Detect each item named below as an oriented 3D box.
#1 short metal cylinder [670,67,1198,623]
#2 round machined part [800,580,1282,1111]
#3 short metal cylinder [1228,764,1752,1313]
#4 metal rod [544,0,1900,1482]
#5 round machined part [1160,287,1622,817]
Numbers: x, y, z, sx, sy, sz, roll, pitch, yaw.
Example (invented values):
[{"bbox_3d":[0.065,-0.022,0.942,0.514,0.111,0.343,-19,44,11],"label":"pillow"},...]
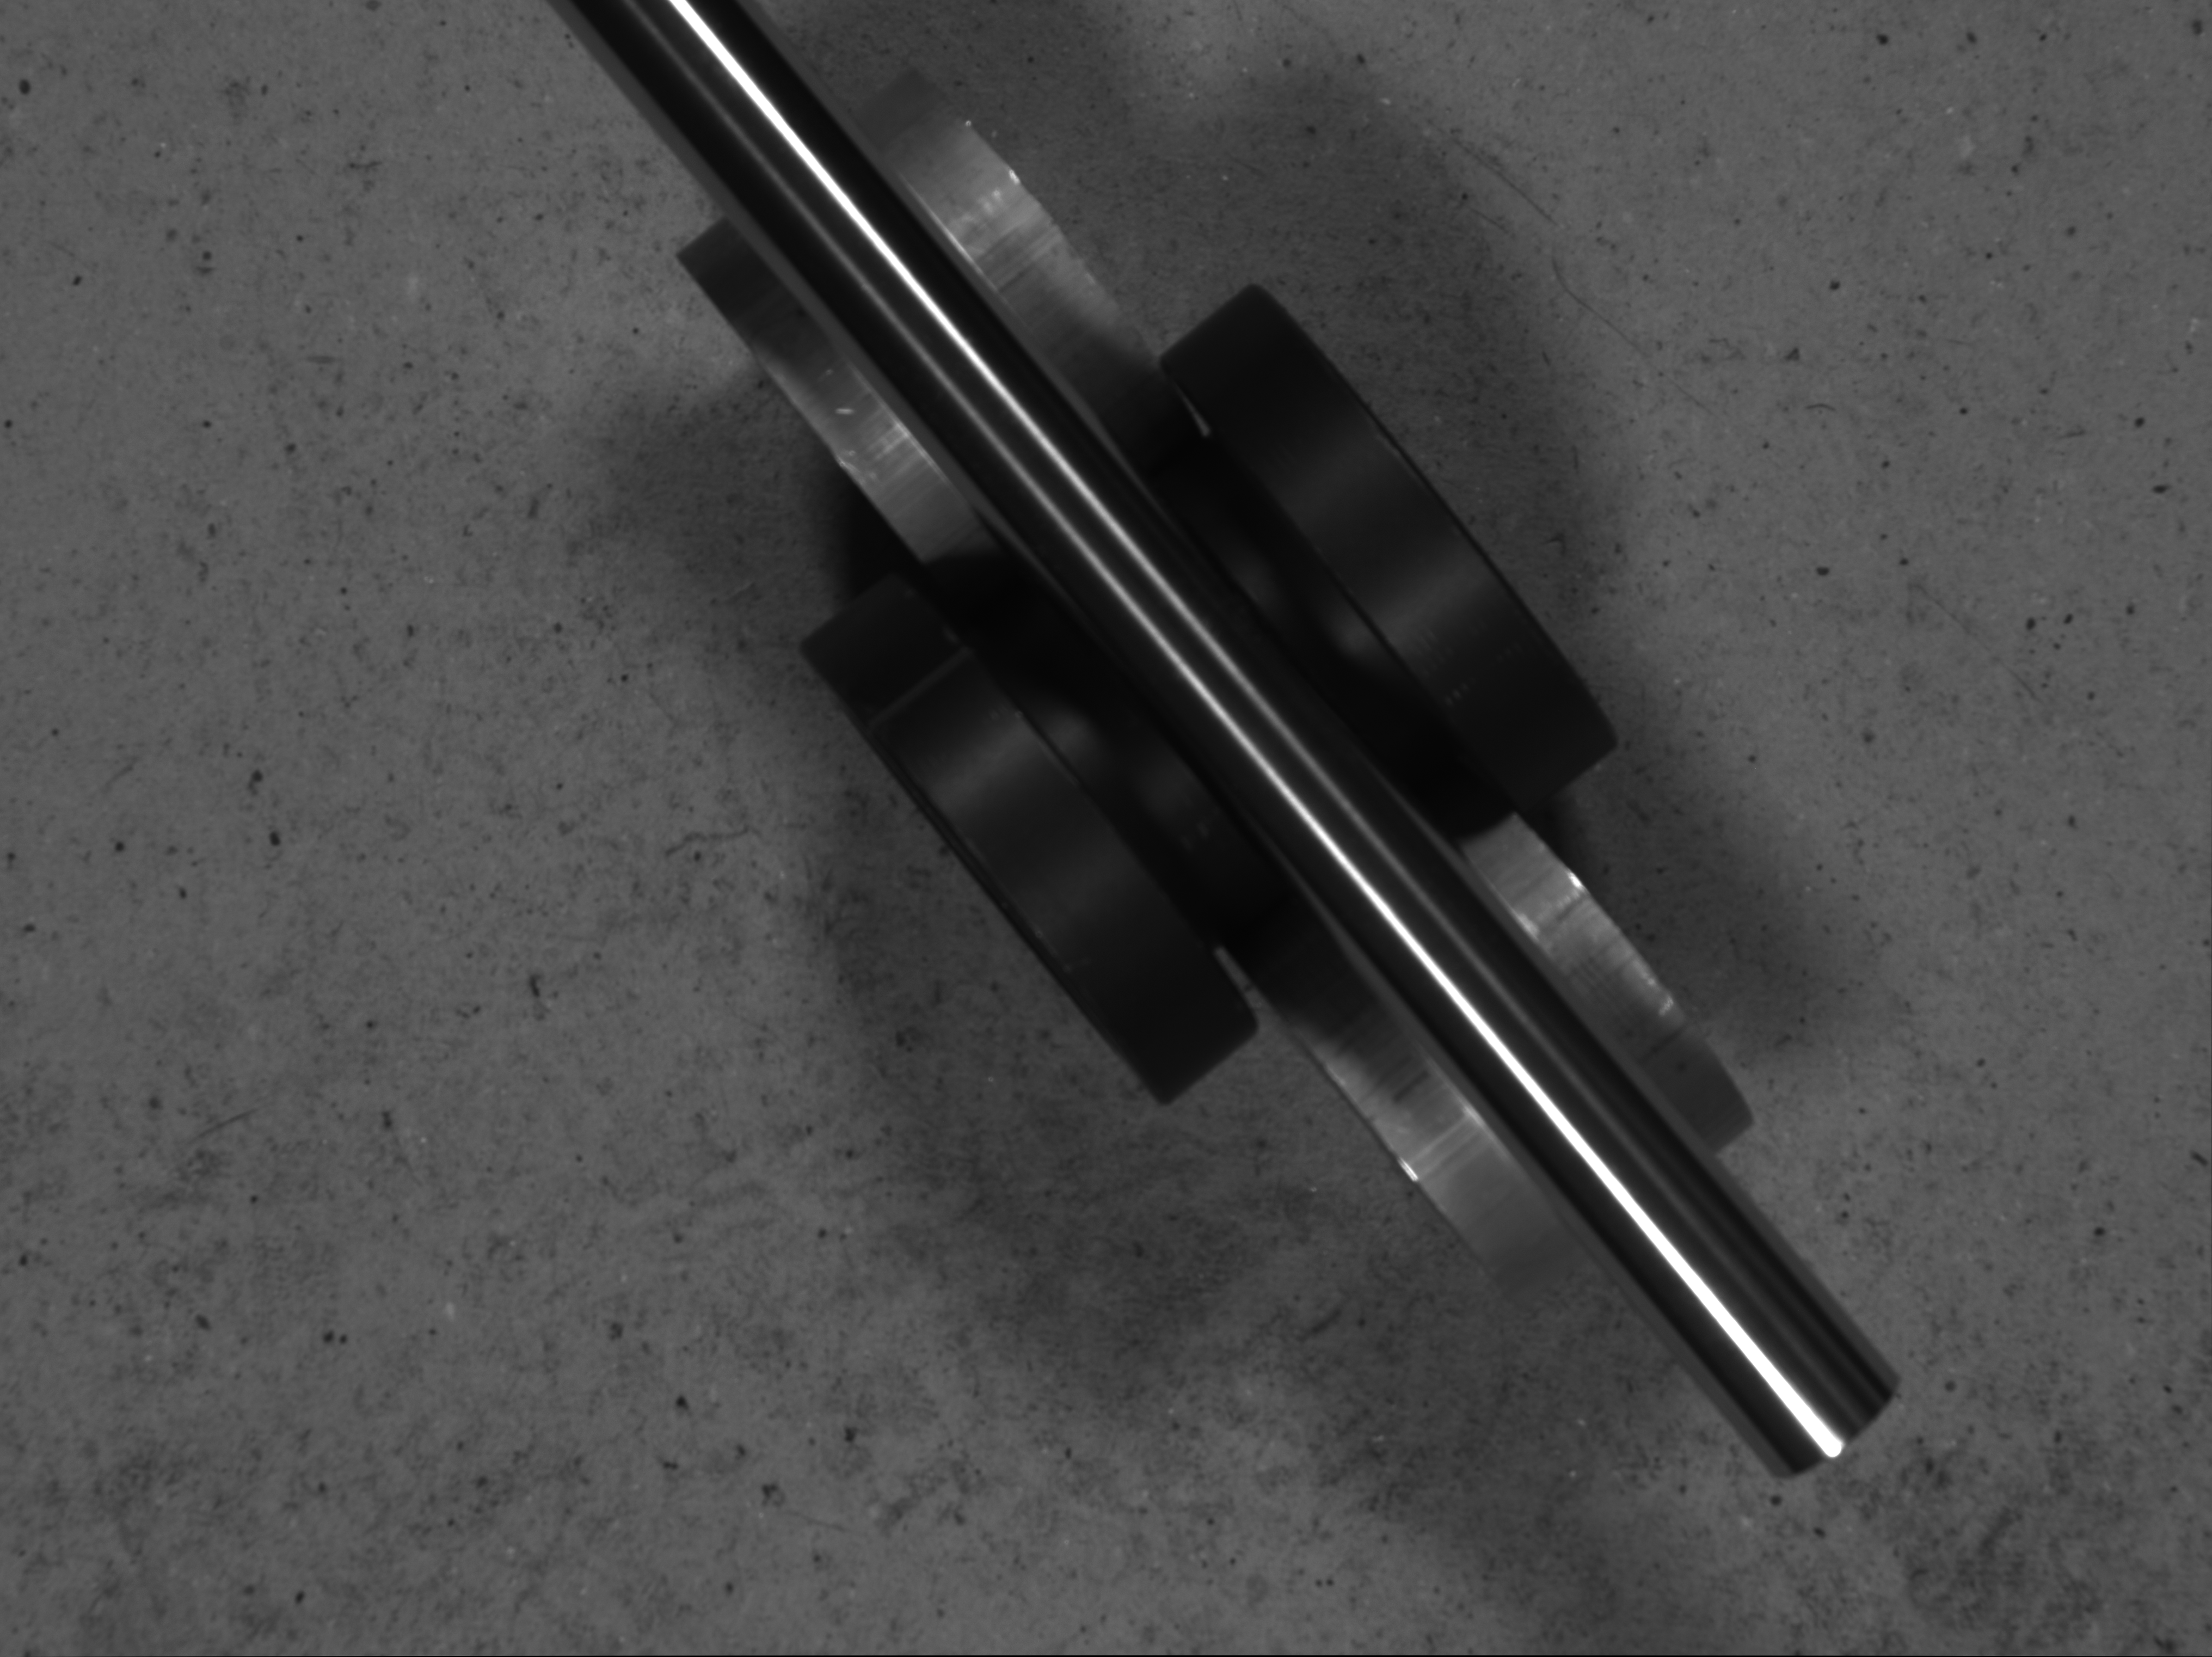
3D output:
[{"bbox_3d":[-0.029,-0.081,0.617,0.050,0.080,0.080,-39,90,0],"label":"short metal cylinder"},{"bbox_3d":[-0.005,-0.003,0.608,0.042,0.098,0.098,-39,90,-4],"label":"round machined part"},{"bbox_3d":[0.063,0.035,0.618,0.050,0.080,0.080,-39,90,0],"label":"short metal cylinder"},{"bbox_3d":[0.017,-0.023,0.566,0.025,0.025,0.300,-40,90,0],"label":"metal rod"},{"bbox_3d":[0.039,-0.039,0.609,0.042,0.098,0.098,-39,90,4],"label":"round machined part"}]
